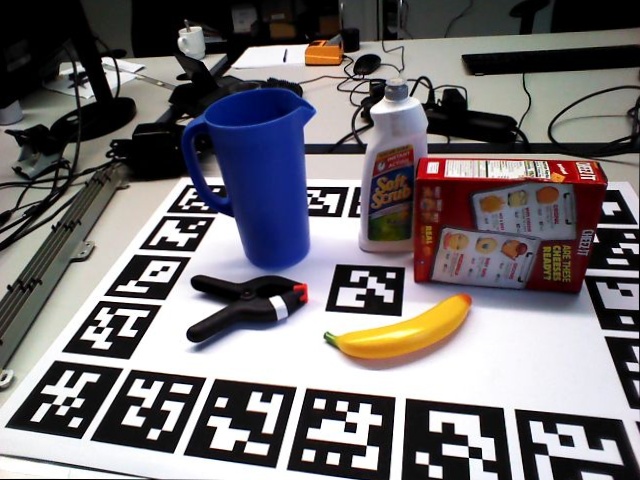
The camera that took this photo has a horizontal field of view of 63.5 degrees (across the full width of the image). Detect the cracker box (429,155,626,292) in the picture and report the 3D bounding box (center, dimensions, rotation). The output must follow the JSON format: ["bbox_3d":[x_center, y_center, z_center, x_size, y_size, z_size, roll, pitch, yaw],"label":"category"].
[{"bbox_3d":[0.249,-0.022,0.660,0.215,0.164,0.071,1,32,14],"label":"cracker box"}]

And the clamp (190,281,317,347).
[{"bbox_3d":[-0.086,0.089,0.696,0.165,0.037,0.121,-7,32,-3],"label":"clamp"}]

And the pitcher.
[{"bbox_3d":[-0.085,-0.088,0.734,0.189,0.243,0.133,-7,33,-5],"label":"pitcher"}]

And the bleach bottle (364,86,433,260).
[{"bbox_3d":[0.108,-0.091,0.737,0.103,0.251,0.067,1,34,12],"label":"bleach bottle"}]

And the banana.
[{"bbox_3d":[0.126,0.114,0.635,0.197,0.039,0.074,-18,35,-16],"label":"banana"}]
